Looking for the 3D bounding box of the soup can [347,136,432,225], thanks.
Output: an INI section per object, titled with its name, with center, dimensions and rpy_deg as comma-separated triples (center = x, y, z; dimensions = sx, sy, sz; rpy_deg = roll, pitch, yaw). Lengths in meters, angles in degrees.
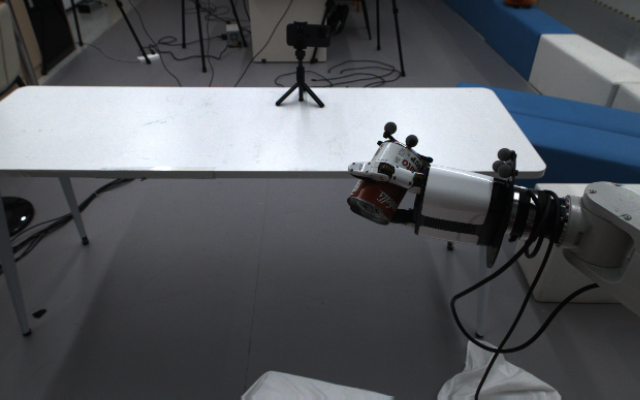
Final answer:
[soup can]
center = 0.092, -0.026, 0.680
dimensions = 0.067, 0.067, 0.101
rpy_deg = 24, 72, 28
